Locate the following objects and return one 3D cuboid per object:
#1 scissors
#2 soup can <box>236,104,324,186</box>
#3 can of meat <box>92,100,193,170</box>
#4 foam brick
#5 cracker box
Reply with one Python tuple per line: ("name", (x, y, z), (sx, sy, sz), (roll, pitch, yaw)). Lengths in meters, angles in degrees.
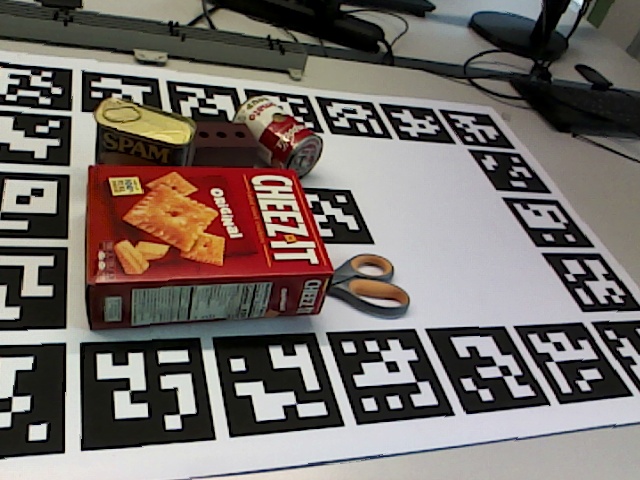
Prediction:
("scissors", (-0.008, 0.049, 0.647), (0.202, 0.016, 0.088), (-3, 47, -24))
("soup can", (-0.054, -0.124, 0.801), (0.102, 0.068, 0.067), (34, 43, 21))
("can of meat", (-0.199, -0.097, 0.686), (0.101, 0.084, 0.058), (12, 43, -11))
("foam brick", (-0.124, -0.105, 0.754), (0.077, 0.051, 0.053), (-7, 50, -29))
("cracker box", (-0.115, 0.000, 0.608), (0.212, 0.072, 0.165), (-5, 47, -22))
